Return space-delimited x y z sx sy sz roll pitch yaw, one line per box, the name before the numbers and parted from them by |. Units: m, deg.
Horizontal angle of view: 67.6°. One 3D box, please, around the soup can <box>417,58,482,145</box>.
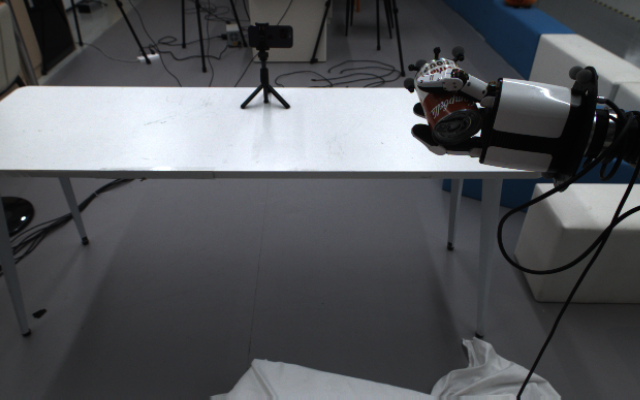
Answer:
soup can | 0.174 -0.136 0.664 0.067 0.067 0.101 -5 58 -10
